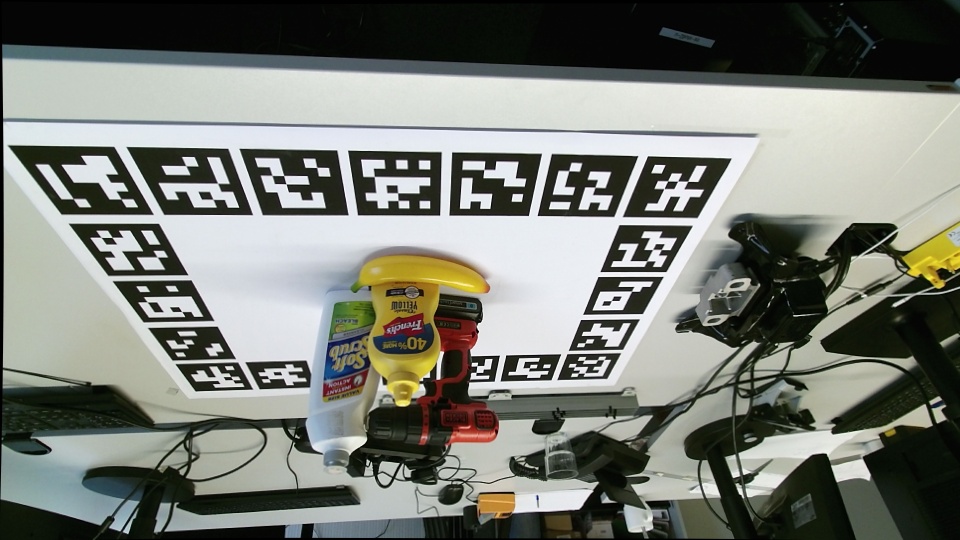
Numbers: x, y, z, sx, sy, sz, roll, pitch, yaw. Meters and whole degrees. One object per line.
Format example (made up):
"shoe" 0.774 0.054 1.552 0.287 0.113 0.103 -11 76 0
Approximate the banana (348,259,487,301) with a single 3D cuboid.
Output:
"banana" -0.084 0.017 0.752 0.198 0.038 0.074 1 137 -12

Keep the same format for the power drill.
"power drill" -0.064 0.162 0.760 0.185 0.186 0.057 9 138 -14

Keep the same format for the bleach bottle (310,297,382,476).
"bleach bottle" -0.173 0.157 0.736 0.103 0.249 0.068 1 144 -9

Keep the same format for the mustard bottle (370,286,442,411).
"mustard bottle" -0.100 0.100 0.716 0.096 0.190 0.058 0 138 -6
